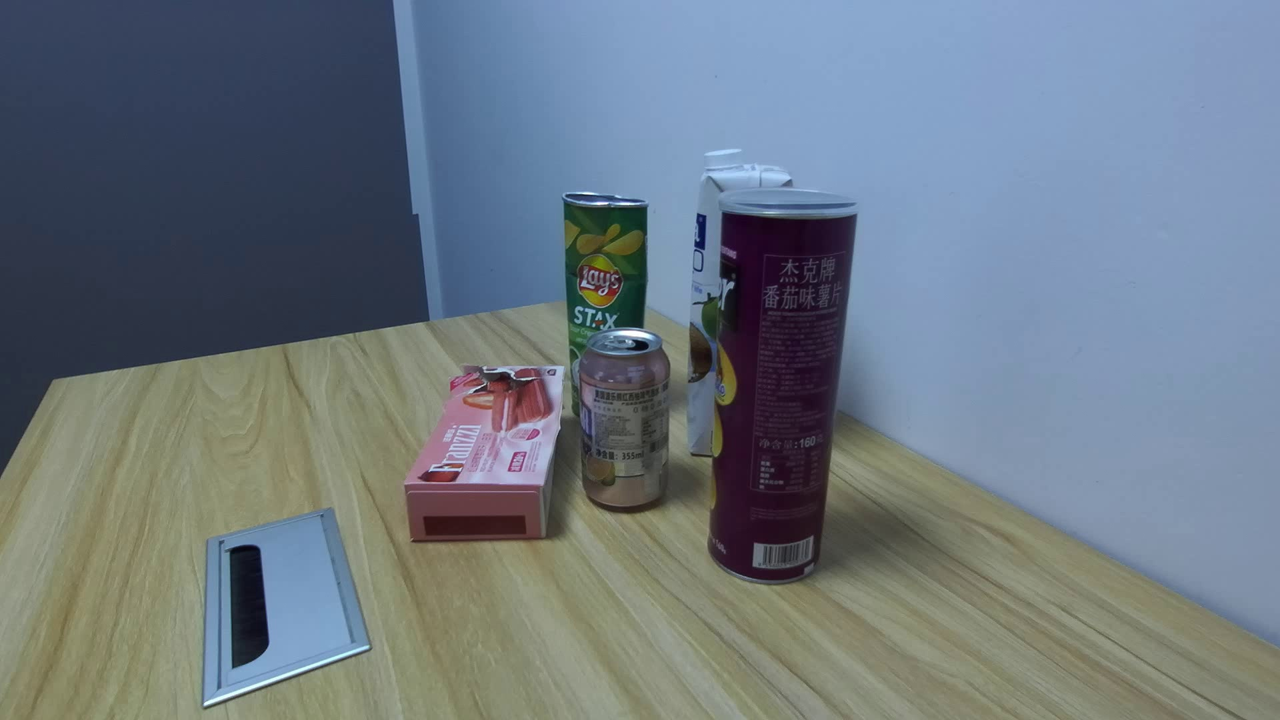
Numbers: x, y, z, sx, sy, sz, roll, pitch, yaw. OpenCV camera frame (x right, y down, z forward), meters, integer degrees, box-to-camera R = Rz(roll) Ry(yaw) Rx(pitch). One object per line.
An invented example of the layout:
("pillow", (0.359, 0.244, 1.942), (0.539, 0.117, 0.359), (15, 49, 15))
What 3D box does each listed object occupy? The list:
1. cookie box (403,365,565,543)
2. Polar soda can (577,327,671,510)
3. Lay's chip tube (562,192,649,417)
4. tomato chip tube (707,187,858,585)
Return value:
("cookie box", (-0.114, 0.065, 0.562), (0.105, 0.059, 0.185), (-2, 23, -2))
("Polar soda can", (-0.012, 0.043, 0.526), (0.067, 0.125, 0.067), (0, 21, 0))
("Lay's chip tube", (-0.030, -0.047, 0.642), (0.075, 0.199, 0.069), (-2, 23, -4))
("tomato chip tube", (0.084, 0.020, 0.432), (0.078, 0.234, 0.078), (0, 22, 0))
